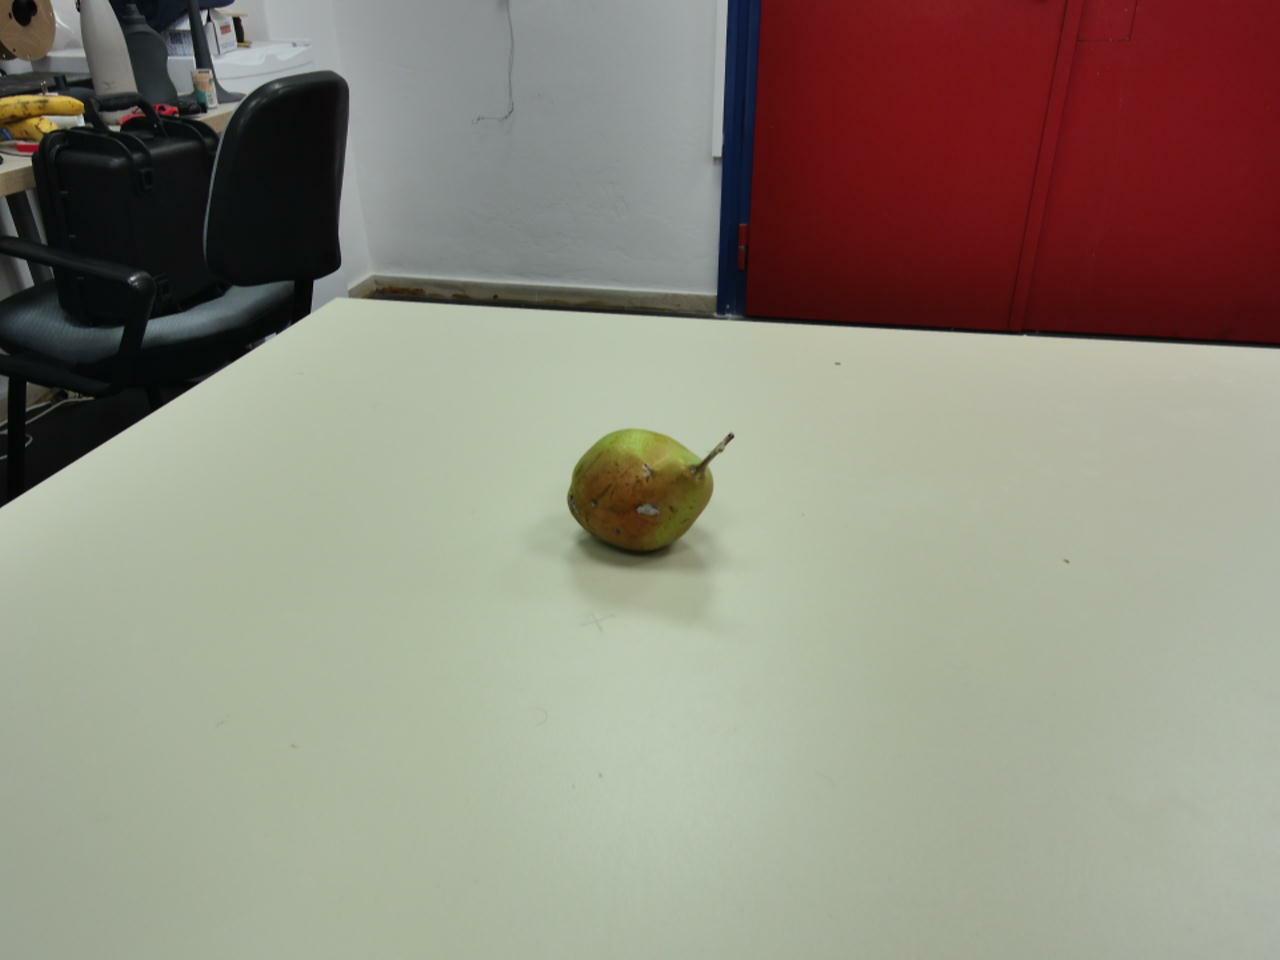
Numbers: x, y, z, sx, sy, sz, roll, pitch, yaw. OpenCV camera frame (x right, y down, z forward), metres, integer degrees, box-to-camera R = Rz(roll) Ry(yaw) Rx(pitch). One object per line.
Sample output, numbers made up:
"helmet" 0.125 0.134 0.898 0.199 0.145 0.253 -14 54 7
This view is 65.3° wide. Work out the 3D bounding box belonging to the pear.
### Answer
"pear" 0.000 0.003 0.511 0.068 0.069 0.070 -13 28 -24
